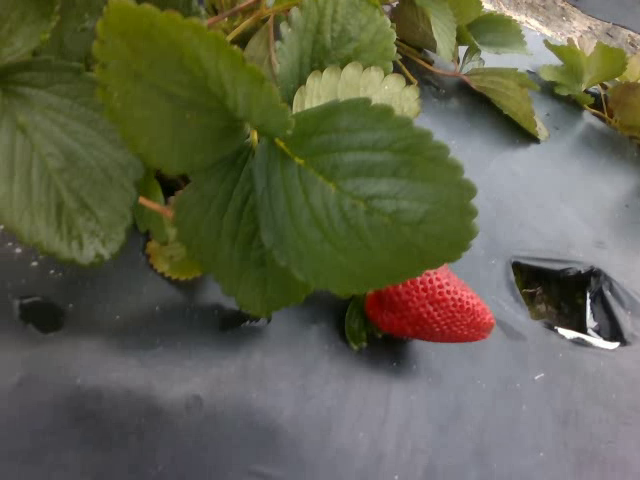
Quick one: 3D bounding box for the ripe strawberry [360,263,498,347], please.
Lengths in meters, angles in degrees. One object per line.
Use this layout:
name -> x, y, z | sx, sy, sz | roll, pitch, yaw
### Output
ripe strawberry -> 0.049, 0.030, 0.265 | 0.064, 0.046, 0.048 | 28, 9, 17
